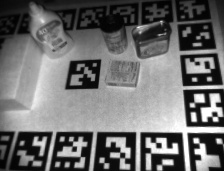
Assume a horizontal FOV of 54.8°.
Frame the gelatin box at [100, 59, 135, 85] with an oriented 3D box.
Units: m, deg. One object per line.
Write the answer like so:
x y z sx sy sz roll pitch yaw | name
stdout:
0.015 -0.045 0.616 0.088 0.030 0.073 7 69 17 | gelatin box

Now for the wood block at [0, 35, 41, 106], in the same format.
-0.296 -0.051 0.651 0.090 0.090 0.205 0 61 10 | wood block

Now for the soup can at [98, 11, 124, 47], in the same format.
-0.005 -0.167 0.632 0.067 0.103 0.067 -4 66 11 | soup can

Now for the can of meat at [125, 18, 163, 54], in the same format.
0.092 -0.142 0.622 0.102 0.084 0.057 -14 64 2 | can of meat

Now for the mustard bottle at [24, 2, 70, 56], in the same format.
-0.202 -0.169 0.636 0.096 0.193 0.058 -25 62 -2 | mustard bottle
